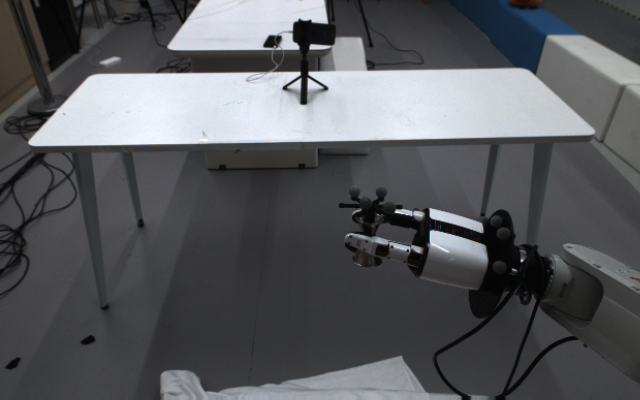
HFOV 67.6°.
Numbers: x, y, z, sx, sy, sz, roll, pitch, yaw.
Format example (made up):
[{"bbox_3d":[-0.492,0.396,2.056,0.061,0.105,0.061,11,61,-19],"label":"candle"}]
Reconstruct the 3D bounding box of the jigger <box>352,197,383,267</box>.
[{"bbox_3d":[0.069,0.055,0.702,0.043,0.071,0.043,1,20,0],"label":"jigger"}]
